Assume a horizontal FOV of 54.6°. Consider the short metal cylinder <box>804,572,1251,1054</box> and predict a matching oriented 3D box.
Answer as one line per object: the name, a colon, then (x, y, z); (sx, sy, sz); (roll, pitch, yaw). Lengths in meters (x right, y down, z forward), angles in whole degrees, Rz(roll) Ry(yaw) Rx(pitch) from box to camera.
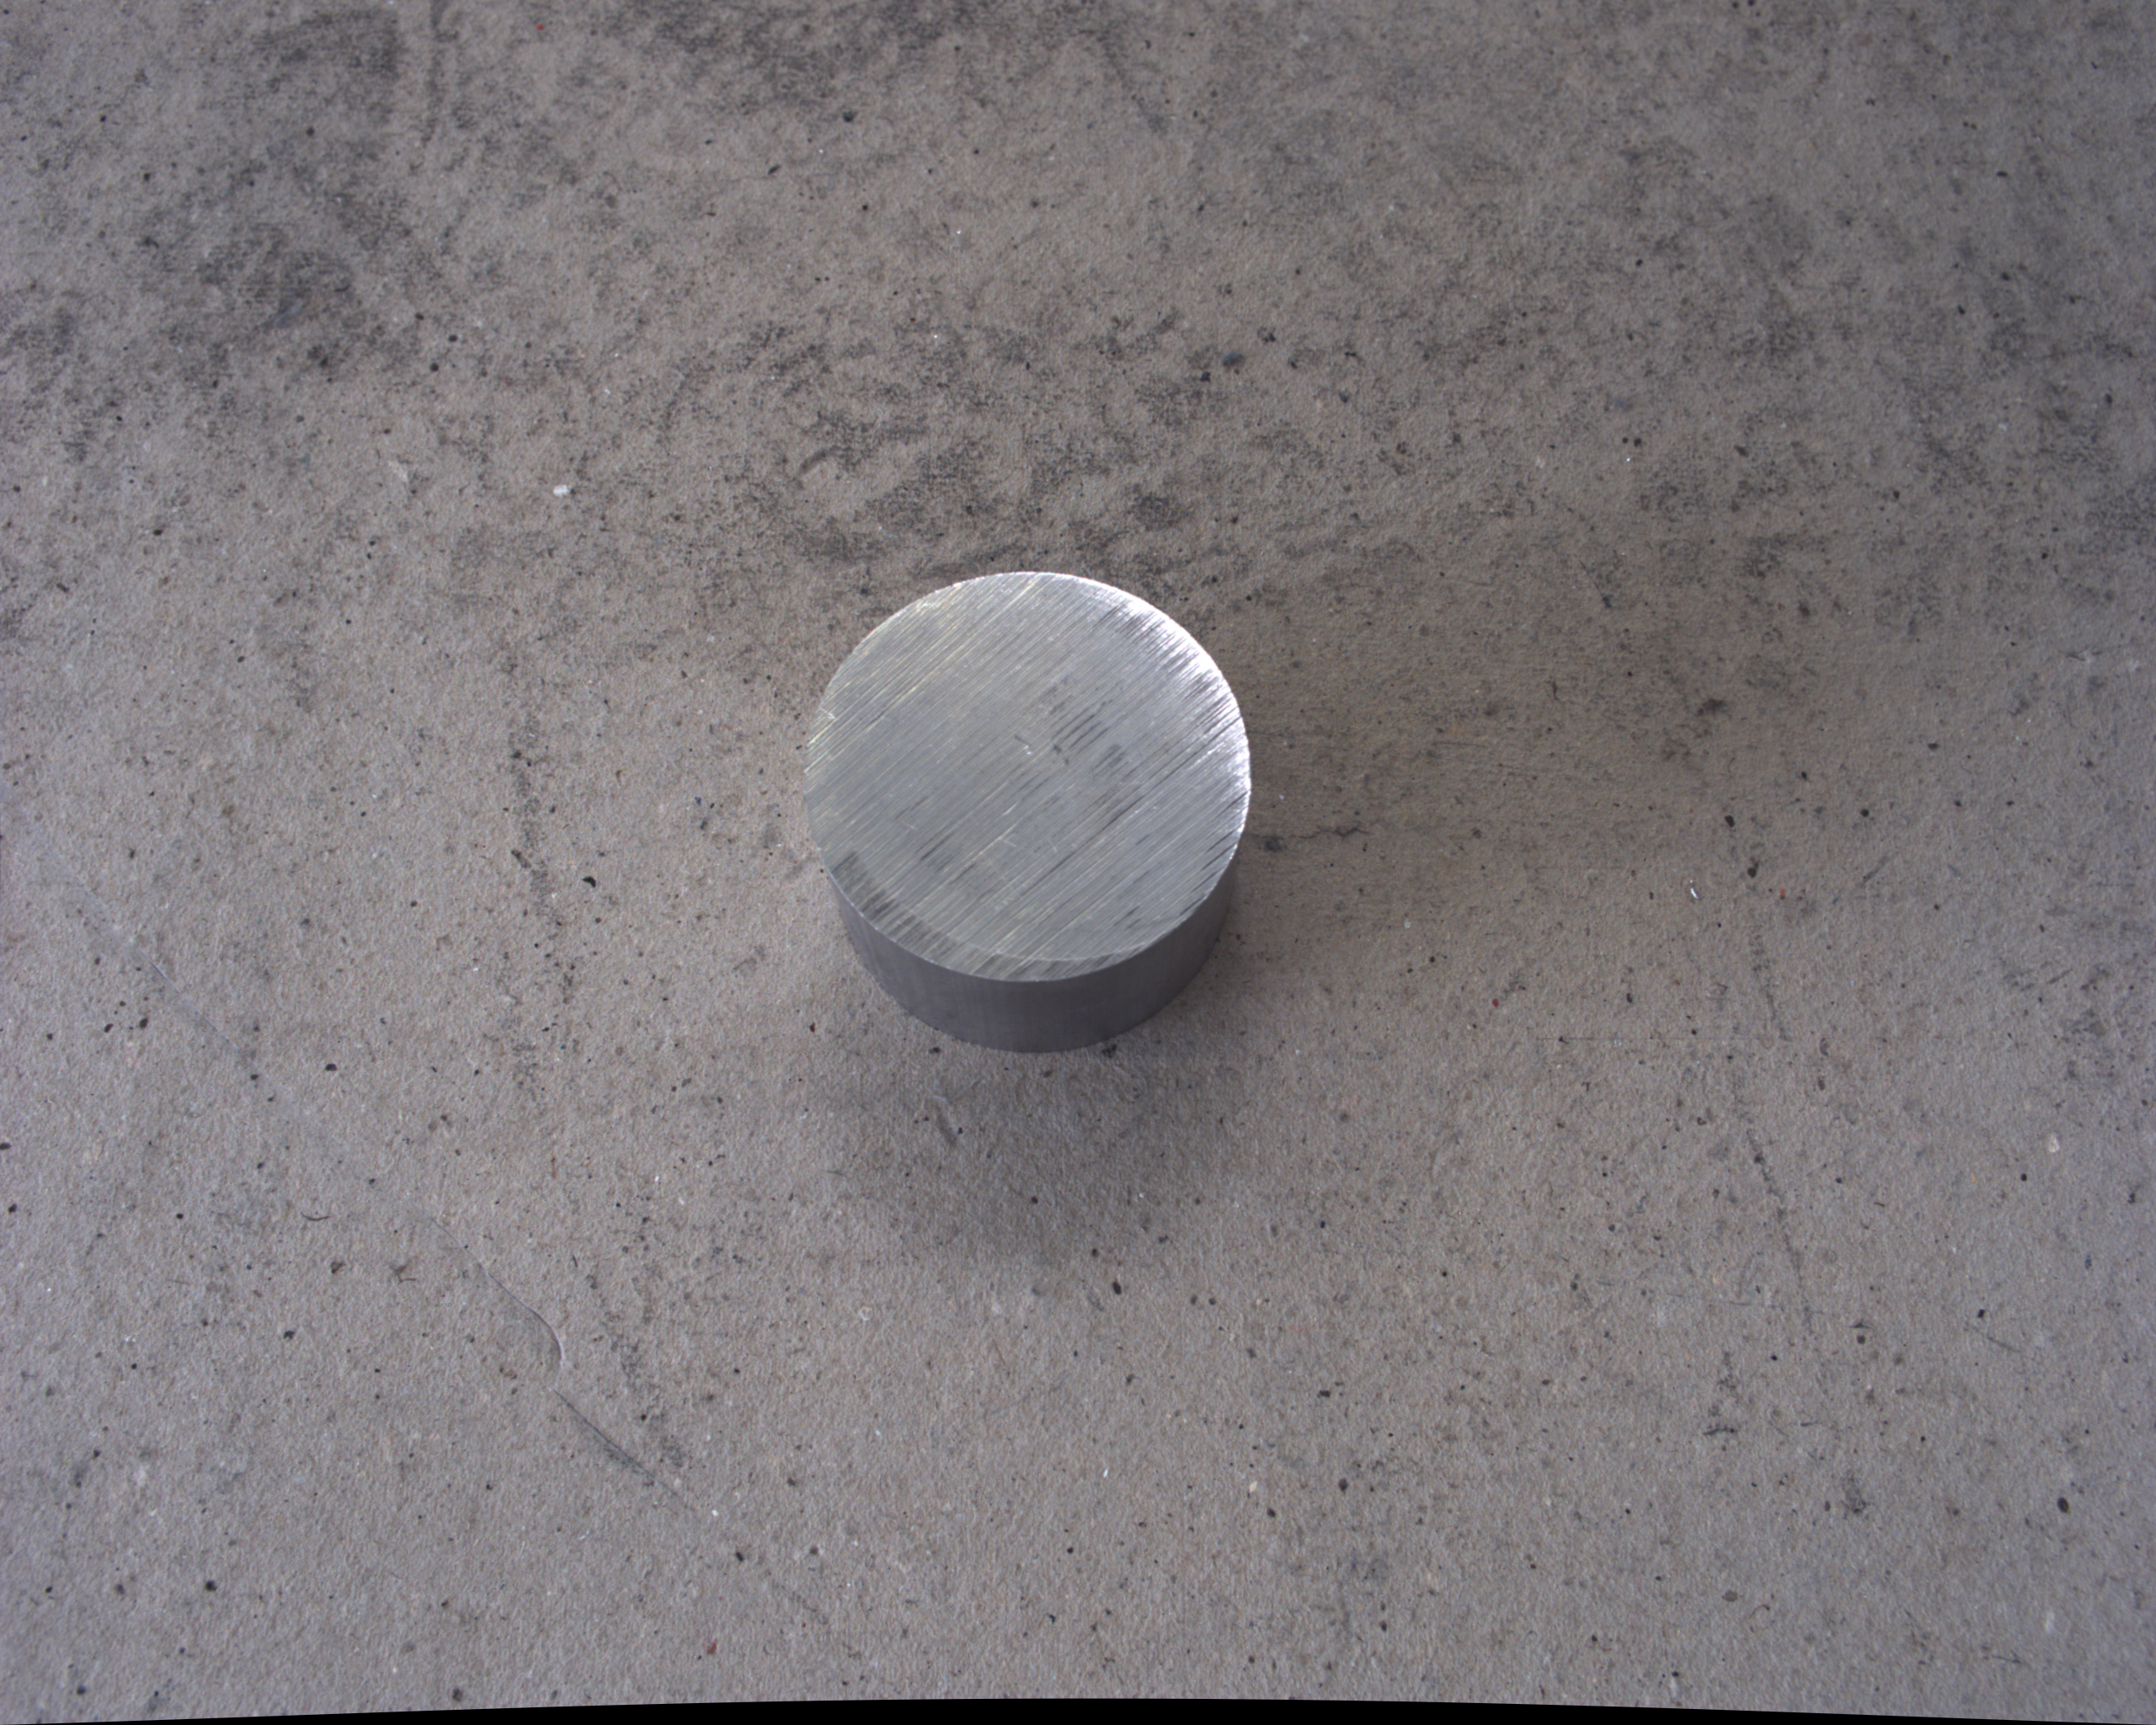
short metal cylinder: (-0.009, -0.008, 0.399); (0.080, 0.050, 0.080); (0, 70, -1)
